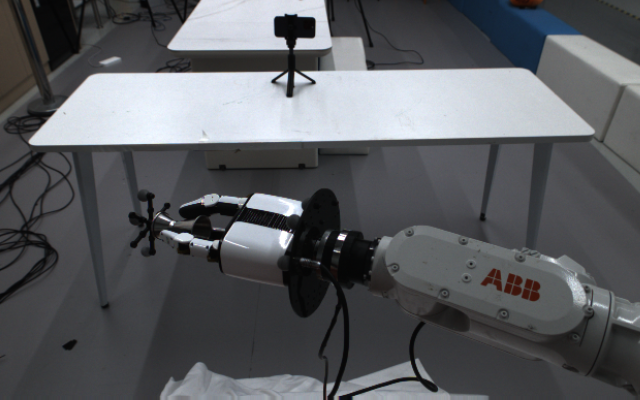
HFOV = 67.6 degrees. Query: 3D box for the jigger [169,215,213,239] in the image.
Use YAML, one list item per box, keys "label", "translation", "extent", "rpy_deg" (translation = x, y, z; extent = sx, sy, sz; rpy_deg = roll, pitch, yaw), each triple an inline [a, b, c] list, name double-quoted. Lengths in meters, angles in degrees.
- label: "jigger"
  translation: [-0.183, 0.037, 0.659]
  extent: [0.071, 0.043, 0.043]
  rpy_deg: [6, 34, 21]
